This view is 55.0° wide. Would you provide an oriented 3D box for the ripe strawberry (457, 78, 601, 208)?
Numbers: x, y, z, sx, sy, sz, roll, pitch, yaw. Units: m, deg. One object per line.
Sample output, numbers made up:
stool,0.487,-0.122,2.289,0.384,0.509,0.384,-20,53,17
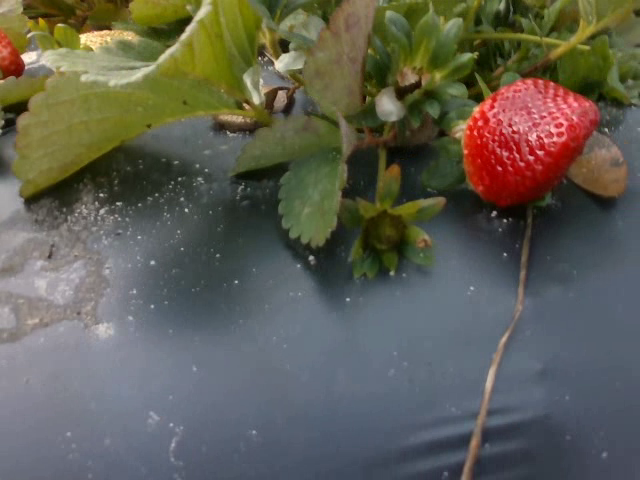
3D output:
ripe strawberry,0.072,-0.033,0.207,0.050,0.049,0.053,-9,7,-9
